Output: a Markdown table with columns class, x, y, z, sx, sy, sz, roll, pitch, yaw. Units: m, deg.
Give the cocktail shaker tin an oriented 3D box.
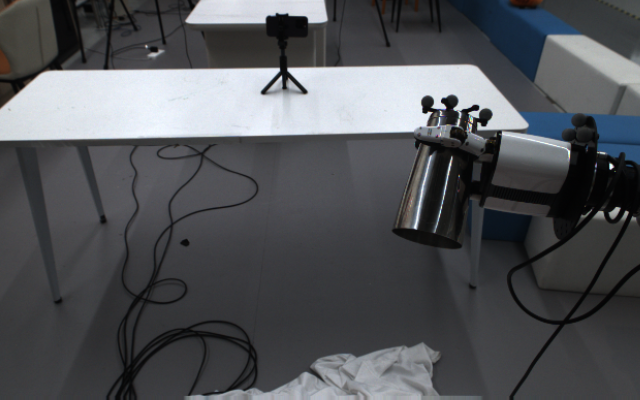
| class | x | y | z | sx | sy | sz | roll | pitch | yaw |
| --- | --- | --- | --- | --- | --- | --- | --- | --- | --- |
| cocktail shaker tin | 0.162 | -0.033 | 0.645 | 0.093 | 0.093 | 0.170 | 13 | 77 | 15 |
